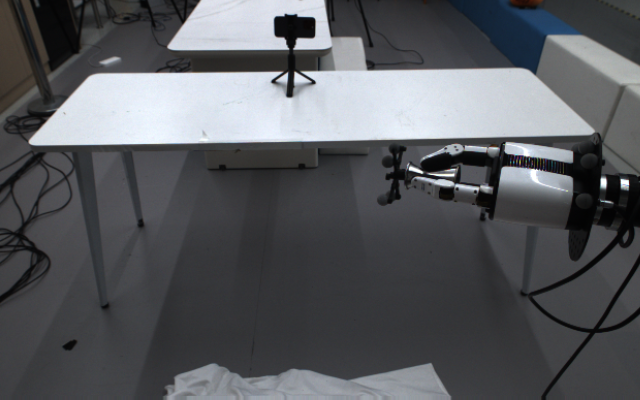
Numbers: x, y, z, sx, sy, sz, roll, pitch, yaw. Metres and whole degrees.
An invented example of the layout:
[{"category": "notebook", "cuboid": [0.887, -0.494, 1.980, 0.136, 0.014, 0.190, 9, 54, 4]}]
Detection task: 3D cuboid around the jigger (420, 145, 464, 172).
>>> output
[{"category": "jigger", "cuboid": [0.159, -0.033, 0.658, 0.071, 0.043, 0.043, 8, 34, 23]}]
